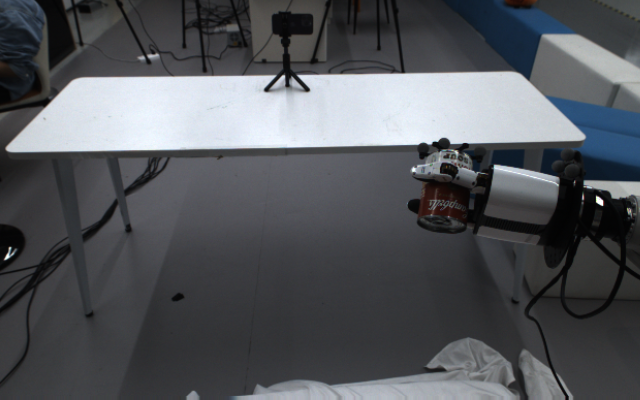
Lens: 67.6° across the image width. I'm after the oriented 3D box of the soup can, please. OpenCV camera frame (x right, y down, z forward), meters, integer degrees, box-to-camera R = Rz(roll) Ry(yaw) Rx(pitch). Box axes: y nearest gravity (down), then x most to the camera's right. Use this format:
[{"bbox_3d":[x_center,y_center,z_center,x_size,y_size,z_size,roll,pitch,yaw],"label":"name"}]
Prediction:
[{"bbox_3d":[0.177,-0.012,0.677,0.067,0.067,0.101,9,70,10],"label":"soup can"}]
